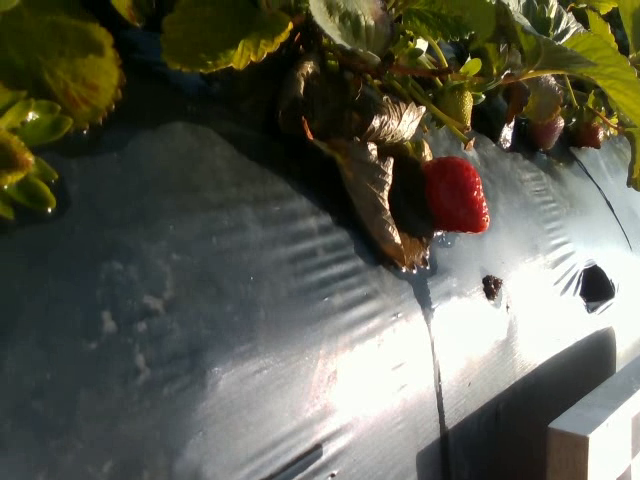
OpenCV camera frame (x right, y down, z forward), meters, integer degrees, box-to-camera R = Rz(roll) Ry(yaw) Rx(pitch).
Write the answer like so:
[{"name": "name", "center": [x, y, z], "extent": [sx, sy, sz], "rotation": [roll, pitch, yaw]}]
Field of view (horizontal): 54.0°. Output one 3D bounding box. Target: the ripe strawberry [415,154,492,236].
[{"name": "ripe strawberry", "center": [0.061, -0.012, 0.263], "extent": [0.037, 0.054, 0.046], "rotation": [-43, -39, 19]}]
